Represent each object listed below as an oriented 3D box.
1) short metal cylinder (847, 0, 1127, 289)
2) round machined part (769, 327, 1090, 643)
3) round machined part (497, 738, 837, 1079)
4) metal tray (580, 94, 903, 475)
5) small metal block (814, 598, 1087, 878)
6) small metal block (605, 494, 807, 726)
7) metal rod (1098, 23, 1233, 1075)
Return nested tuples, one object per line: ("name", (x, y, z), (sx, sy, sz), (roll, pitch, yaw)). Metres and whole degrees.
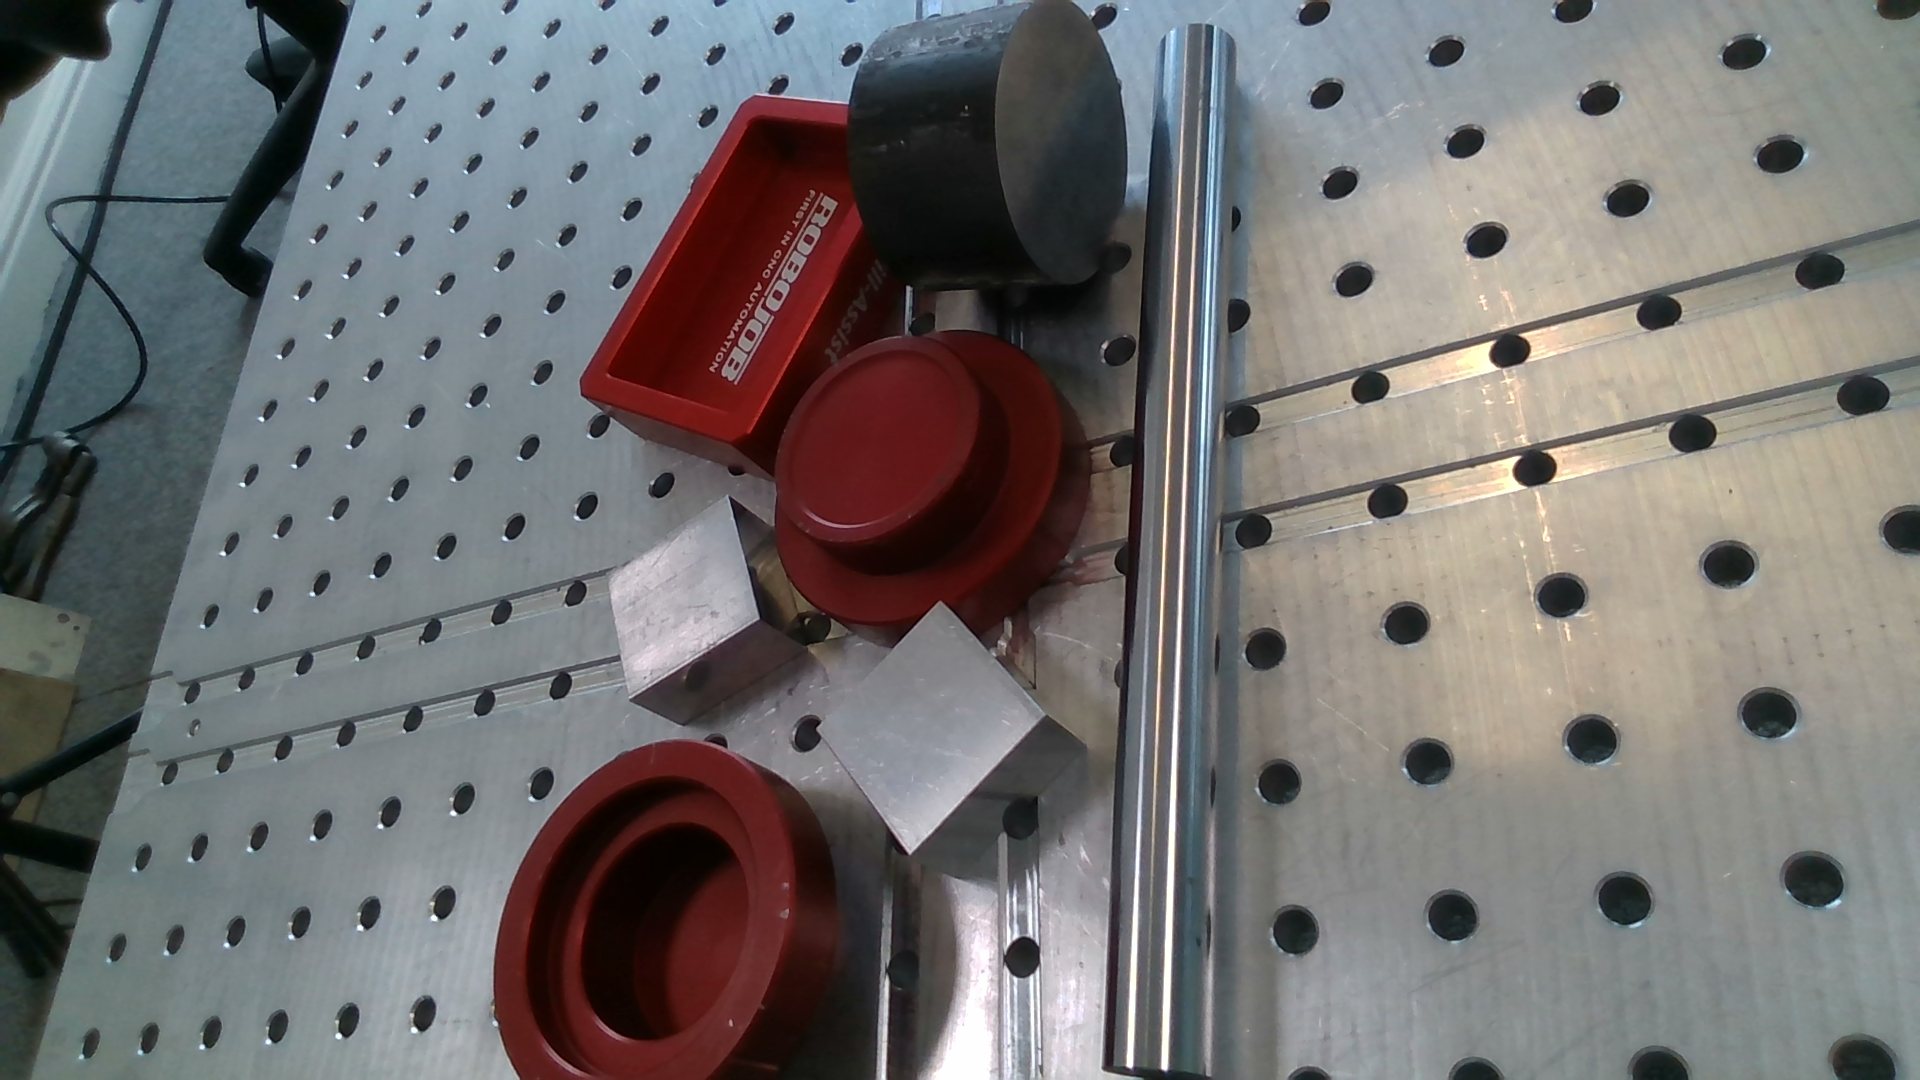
("short metal cylinder", (0.010, -0.118, 0.416), (0.050, 0.080, 0.080), (4, 68, 33))
("round machined part", (-0.015, -0.022, 0.405), (0.098, 0.042, 0.098), (-13, 60, 23))
("round machined part", (-0.074, 0.107, 0.374), (0.098, 0.042, 0.098), (-14, 59, 25))
("metal tray", (-0.067, -0.092, 0.482), (0.090, 0.030, 0.130), (19, 76, 37))
("small metal block", (-0.003, 0.053, 0.371), (0.050, 0.025, 0.050), (-46, 51, 2))
("small metal block", (-0.081, 0.022, 0.434), (0.050, 0.025, 0.050), (-31, 53, 14))
("metal rod", (0.058, -0.017, 0.369), (0.025, 0.025, 0.299), (-8, 62, 28))
